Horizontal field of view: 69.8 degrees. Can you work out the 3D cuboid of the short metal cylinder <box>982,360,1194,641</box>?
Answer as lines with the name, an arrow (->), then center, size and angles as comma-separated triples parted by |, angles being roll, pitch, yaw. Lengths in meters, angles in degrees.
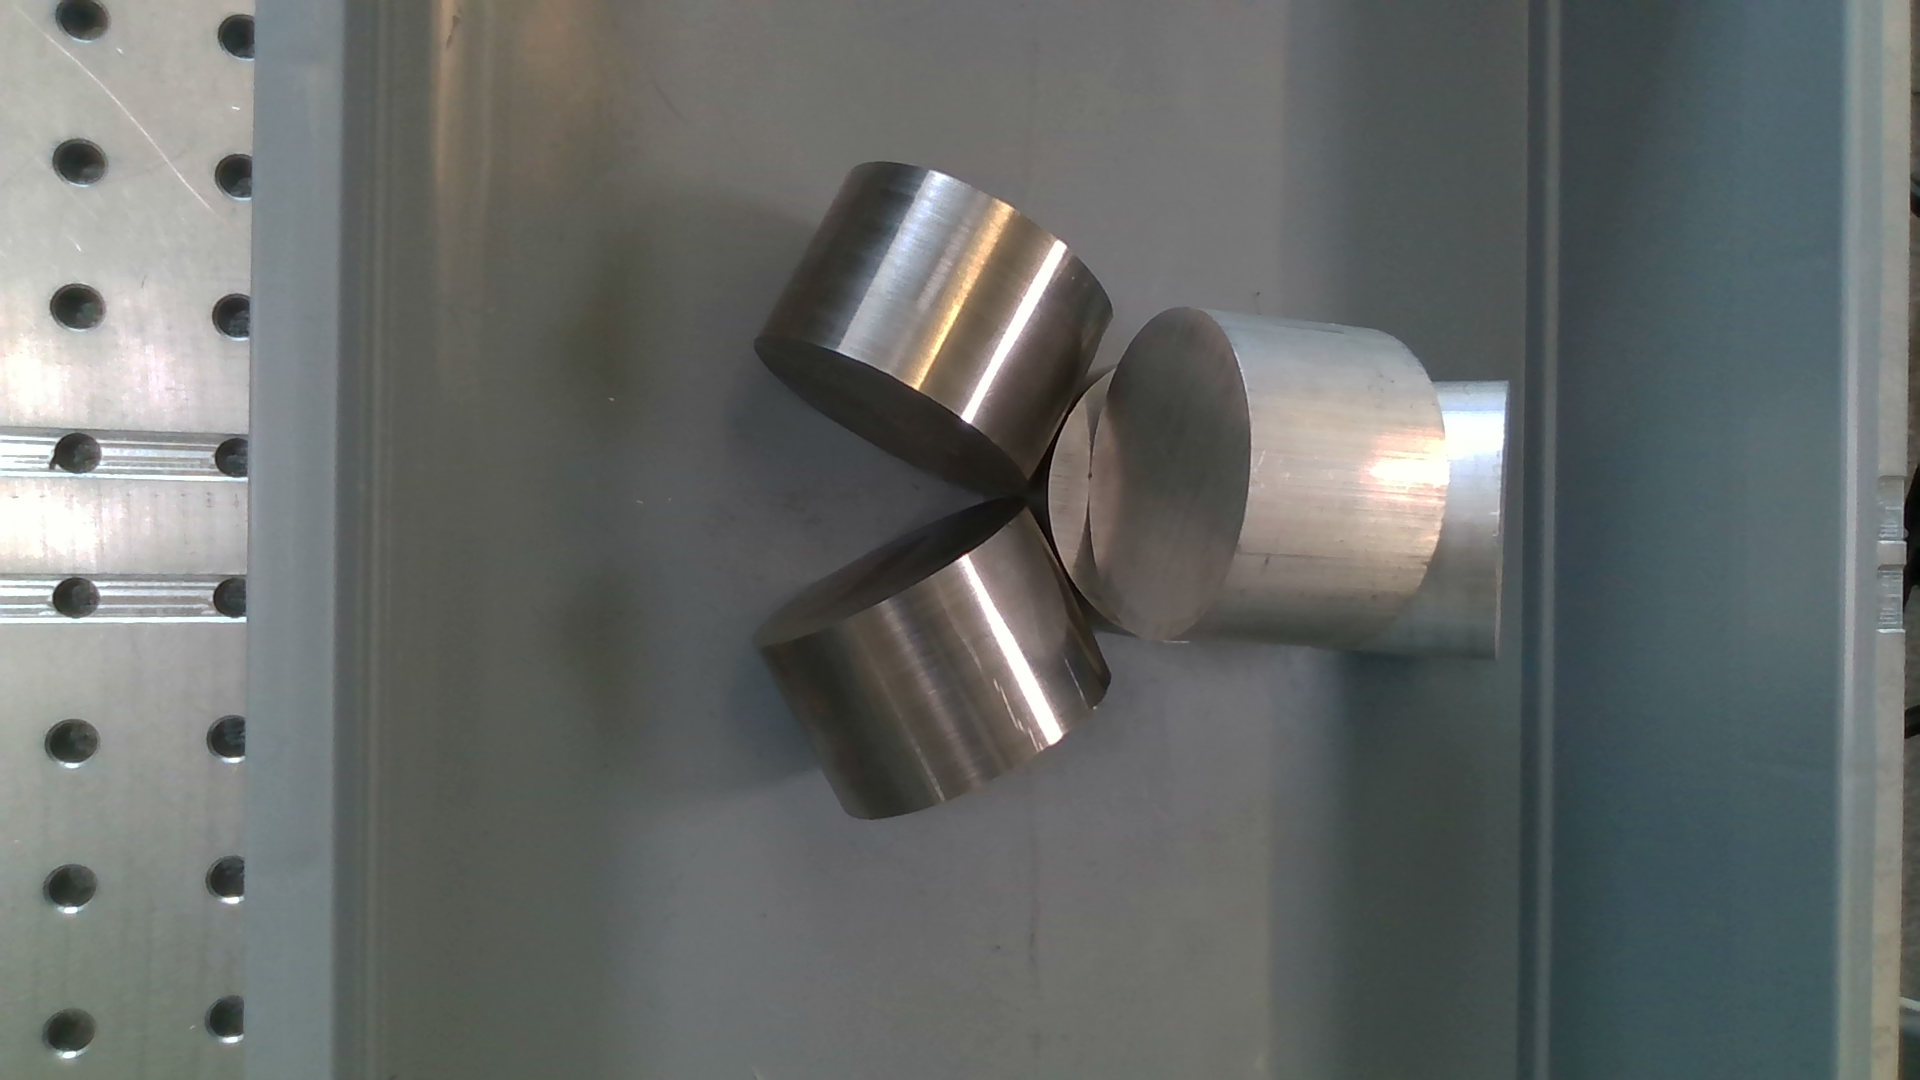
short metal cylinder -> 0.053, -0.012, 0.398 | 0.080, 0.050, 0.080 | 0, 90, -20

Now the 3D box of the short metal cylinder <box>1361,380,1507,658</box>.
short metal cylinder -> 0.133, -0.007, 0.406 | 0.050, 0.080, 0.080 | 3, 89, 22

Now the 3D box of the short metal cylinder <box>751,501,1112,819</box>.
short metal cylinder -> -0.007, 0.029, 0.361 | 0.080, 0.080, 0.050 | -30, 99, -18

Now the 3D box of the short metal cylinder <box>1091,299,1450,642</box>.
short metal cylinder -> 0.072, -0.016, 0.336 | 0.050, 0.080, 0.080 | 3, 89, -20

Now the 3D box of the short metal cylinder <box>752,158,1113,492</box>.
short metal cylinder -> -0.007, -0.054, 0.361 | 0.080, 0.080, 0.050 | 30, 80, -18
